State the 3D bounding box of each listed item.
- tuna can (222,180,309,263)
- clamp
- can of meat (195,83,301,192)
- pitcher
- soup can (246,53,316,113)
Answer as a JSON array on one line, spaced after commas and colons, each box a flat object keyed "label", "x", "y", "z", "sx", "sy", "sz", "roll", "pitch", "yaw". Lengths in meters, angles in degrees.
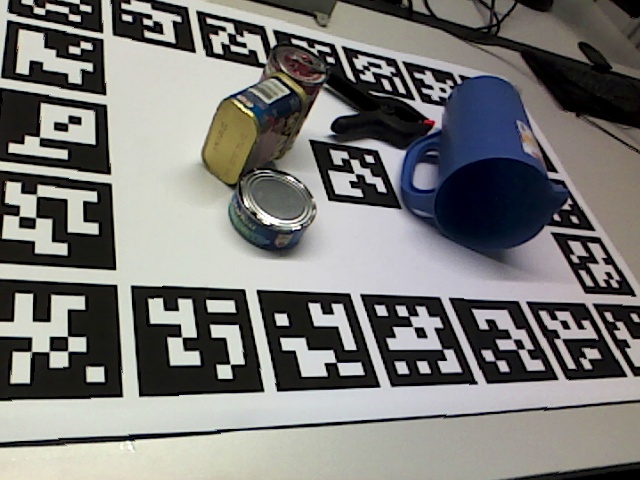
[{"label": "tuna can", "x": -0.057, "y": -0.019, "z": 0.641, "sx": 0.085, "sy": 0.034, "sz": 0.086, "roll": 16, "pitch": 47, "yaw": -18}, {"label": "clamp", "x": 0.053, "y": -0.165, "z": 0.851, "sx": 0.164, "sy": 0.036, "sz": 0.122, "roll": 8, "pitch": 44, "yaw": -28}, {"label": "can of meat", "x": -0.078, "y": -0.106, "z": 0.655, "sx": 0.058, "sy": 0.102, "sz": 0.083, "roll": 44, "pitch": 48, "yaw": 10}, {"label": "pitcher", "x": 0.204, "y": -0.107, "z": 0.796, "sx": 0.189, "sy": 0.133, "sz": 0.243, "roll": 5, "pitch": 38, "yaw": 3}, {"label": "soup can", "x": -0.055, "y": -0.154, "z": 0.718, "sx": 0.067, "sy": 0.102, "sz": 0.068, "roll": 14, "pitch": 49, "yaw": -17}]
